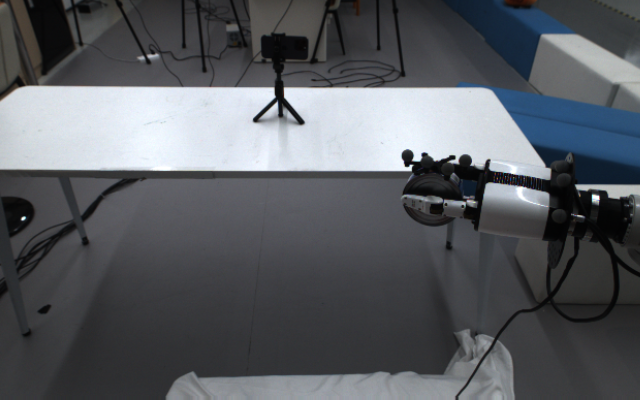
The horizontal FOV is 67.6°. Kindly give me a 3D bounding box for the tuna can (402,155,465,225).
[{"bbox_3d":[0.167,-0.010,0.706,0.085,0.085,0.034,13,29,16],"label":"tuna can"}]
